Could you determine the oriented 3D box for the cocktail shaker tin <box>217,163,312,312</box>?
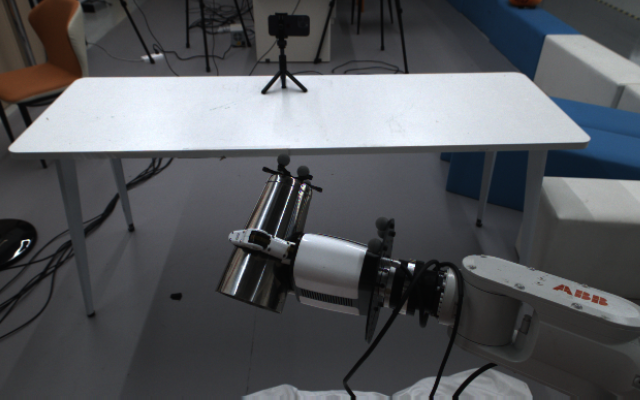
[{"bbox_3d":[-0.068,0.057,0.650,0.093,0.093,0.170,14,73,17],"label":"cocktail shaker tin"}]
